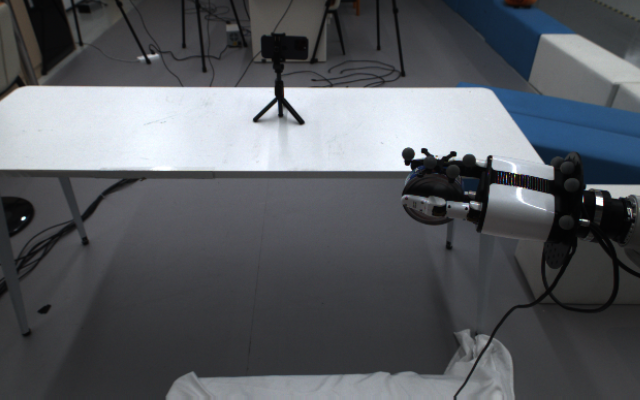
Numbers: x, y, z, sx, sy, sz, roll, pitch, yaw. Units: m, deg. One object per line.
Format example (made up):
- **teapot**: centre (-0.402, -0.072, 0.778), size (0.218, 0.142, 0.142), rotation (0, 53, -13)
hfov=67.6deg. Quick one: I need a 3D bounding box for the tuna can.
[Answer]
- **tuna can**: centre (0.162, -0.012, 0.682), size (0.085, 0.085, 0.034), rotation (10, 34, 11)
